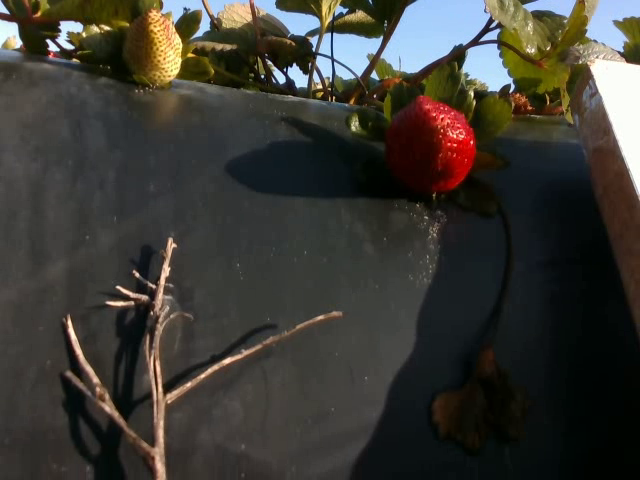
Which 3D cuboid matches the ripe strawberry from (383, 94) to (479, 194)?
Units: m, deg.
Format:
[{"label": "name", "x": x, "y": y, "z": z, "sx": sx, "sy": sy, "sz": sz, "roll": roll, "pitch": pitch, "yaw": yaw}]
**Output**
[{"label": "ripe strawberry", "x": 0.014, "y": -0.013, "z": 0.078, "sx": 0.016, "sy": 0.015, "sz": 0.023, "roll": 14, "pitch": -3, "yaw": 4}]
